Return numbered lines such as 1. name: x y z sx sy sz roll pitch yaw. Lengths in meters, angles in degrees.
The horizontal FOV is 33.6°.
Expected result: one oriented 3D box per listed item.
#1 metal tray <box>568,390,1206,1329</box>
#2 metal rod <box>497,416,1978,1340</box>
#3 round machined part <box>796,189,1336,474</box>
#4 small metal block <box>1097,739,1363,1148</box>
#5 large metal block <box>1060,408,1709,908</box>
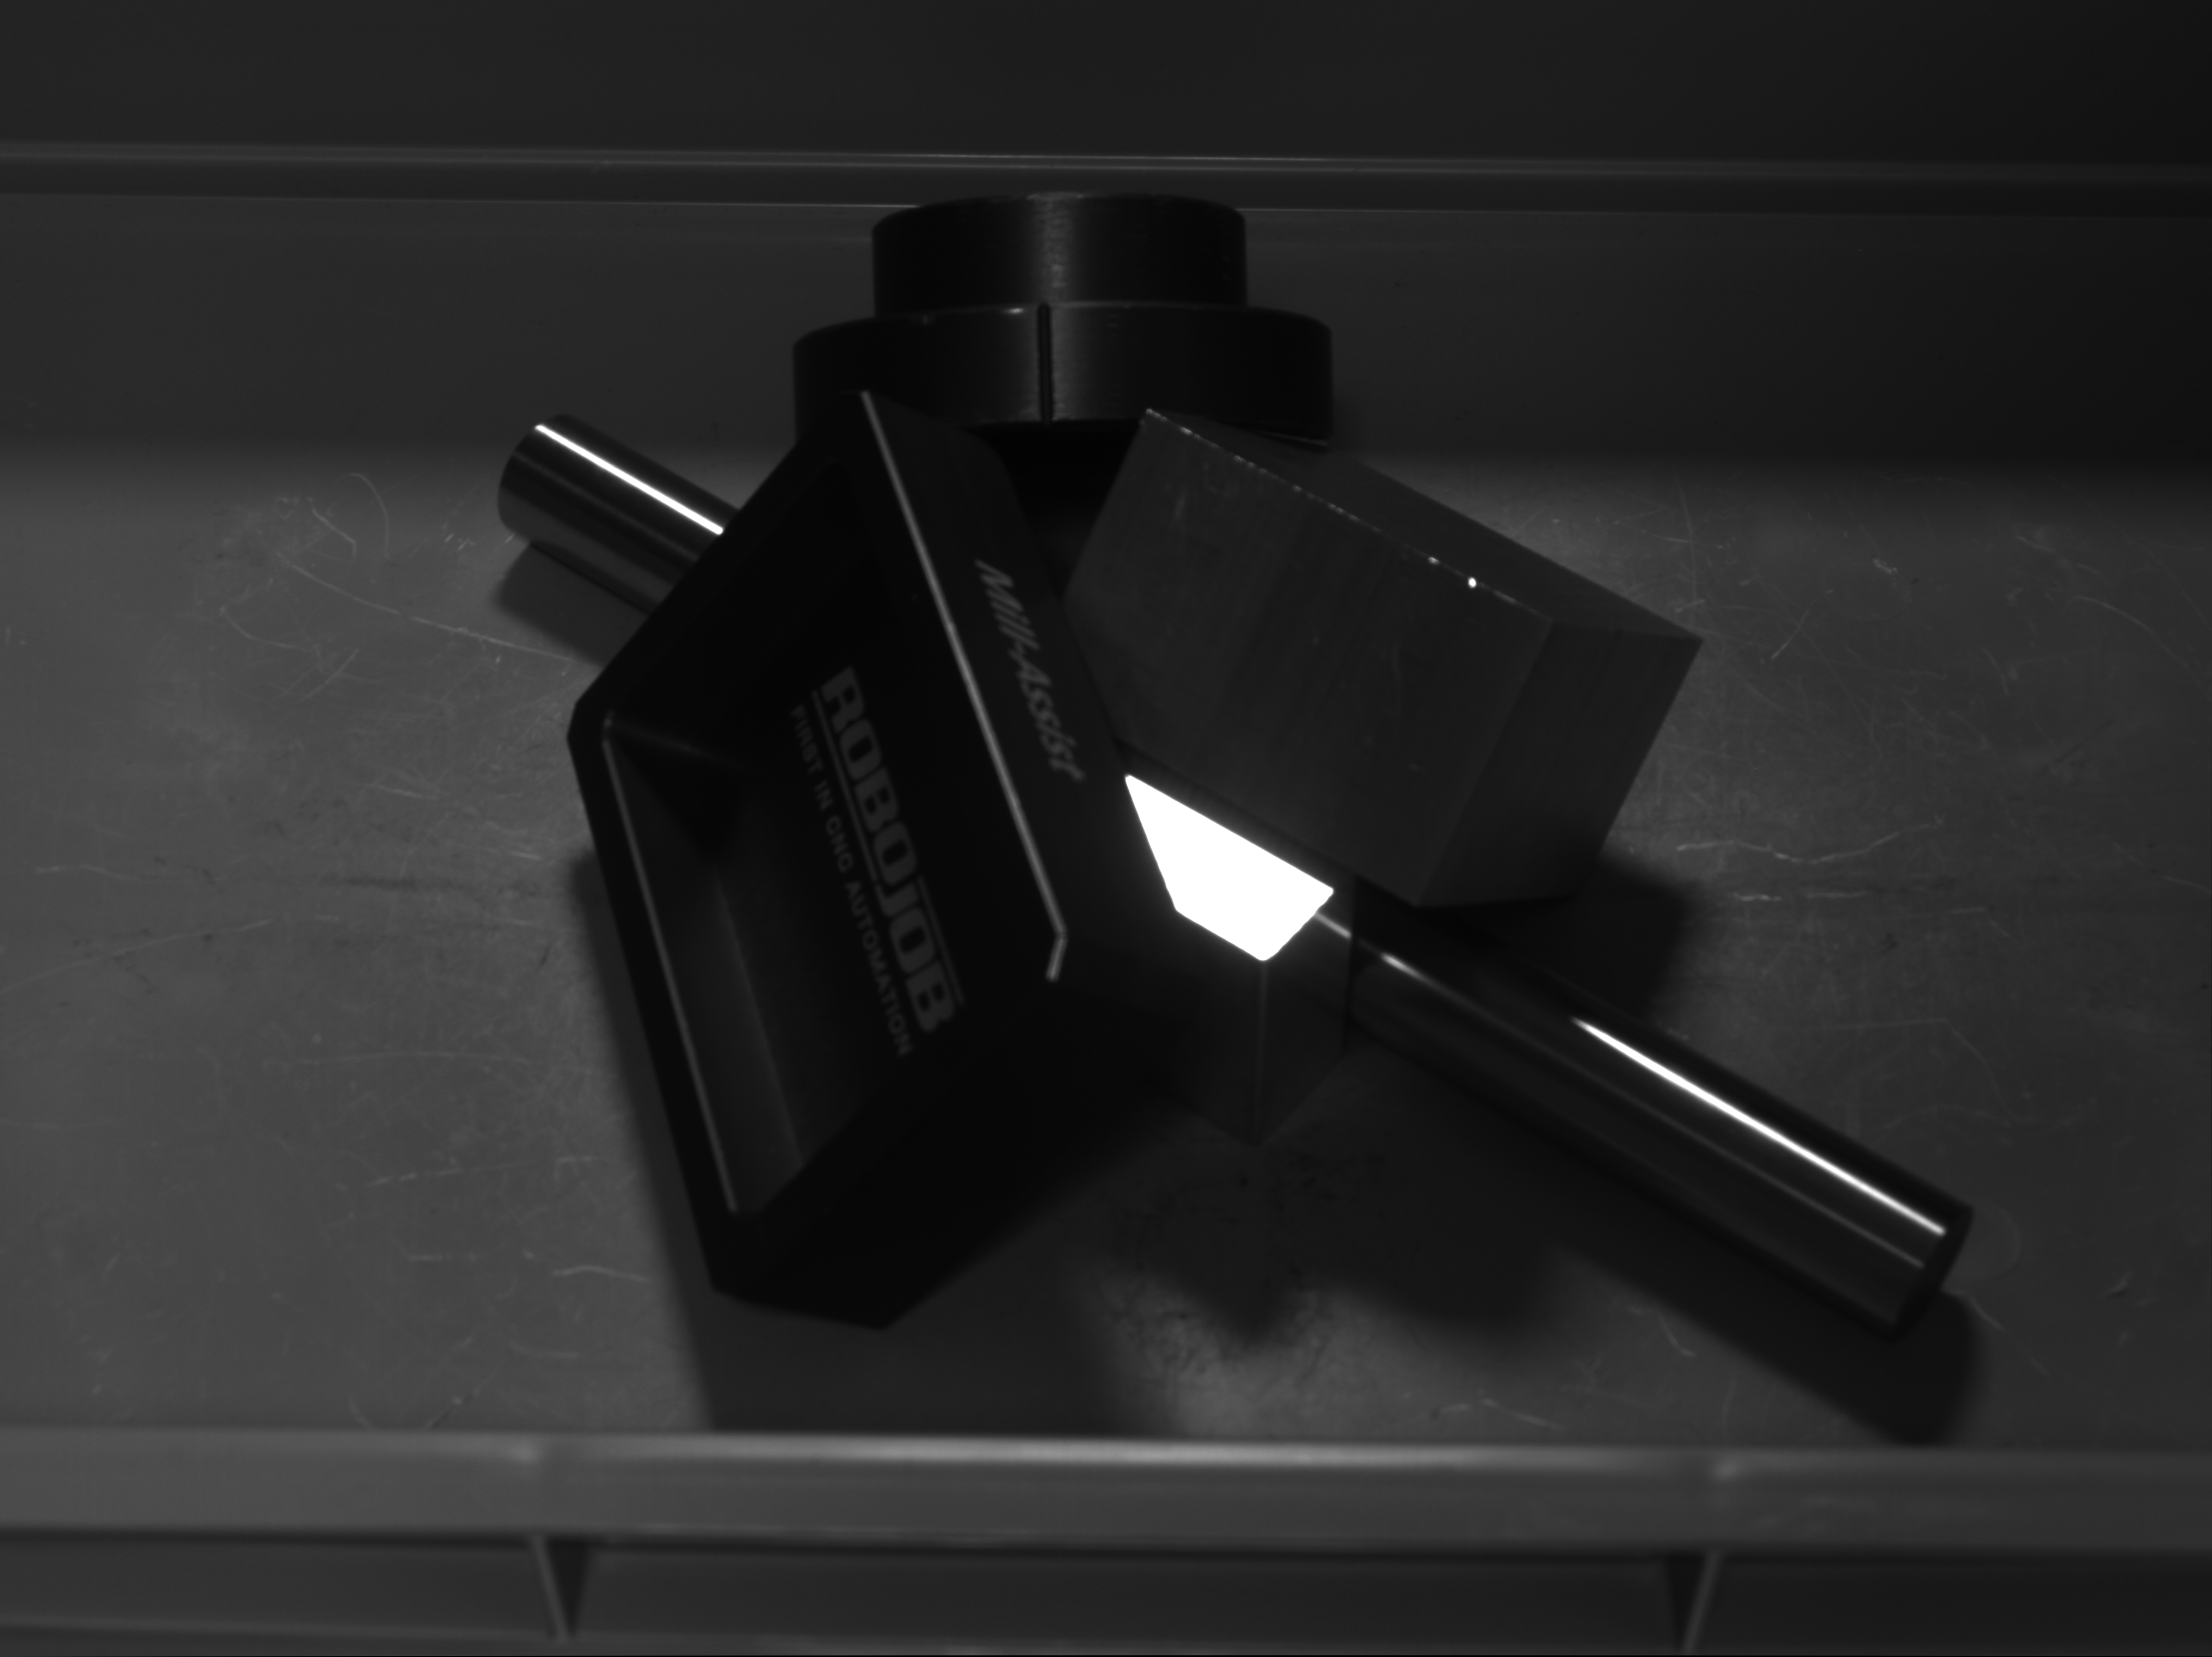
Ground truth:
1. metal tray: -0.040 0.003 0.597 0.030 0.090 0.130 19 37 -39
2. metal rod: 0.012 0.002 0.639 0.299 0.025 0.025 30 56 23
3. round machined part: -0.008 -0.090 0.666 0.098 0.098 0.042 -1 90 -1
4. small metal block: 0.014 0.018 0.609 0.050 0.050 0.025 31 56 24
5. large metal block: 0.045 -0.028 0.623 0.080 0.050 0.080 30 13 23
